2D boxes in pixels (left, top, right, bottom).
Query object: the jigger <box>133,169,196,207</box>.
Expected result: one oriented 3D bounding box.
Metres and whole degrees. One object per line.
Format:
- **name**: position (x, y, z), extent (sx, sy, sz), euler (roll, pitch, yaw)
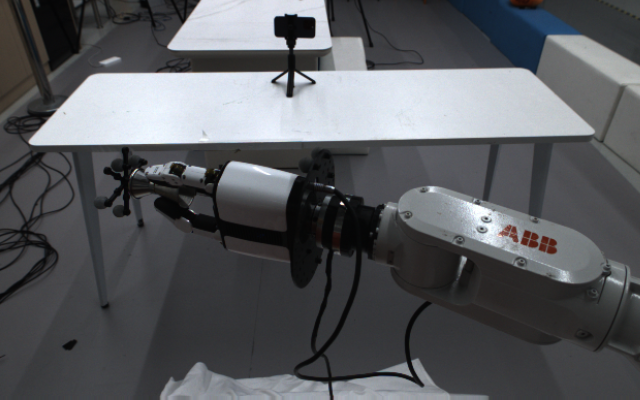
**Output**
- **jigger**: position (-0.189, -0.019, 0.599), extent (0.071, 0.043, 0.043), euler (8, 35, 12)
